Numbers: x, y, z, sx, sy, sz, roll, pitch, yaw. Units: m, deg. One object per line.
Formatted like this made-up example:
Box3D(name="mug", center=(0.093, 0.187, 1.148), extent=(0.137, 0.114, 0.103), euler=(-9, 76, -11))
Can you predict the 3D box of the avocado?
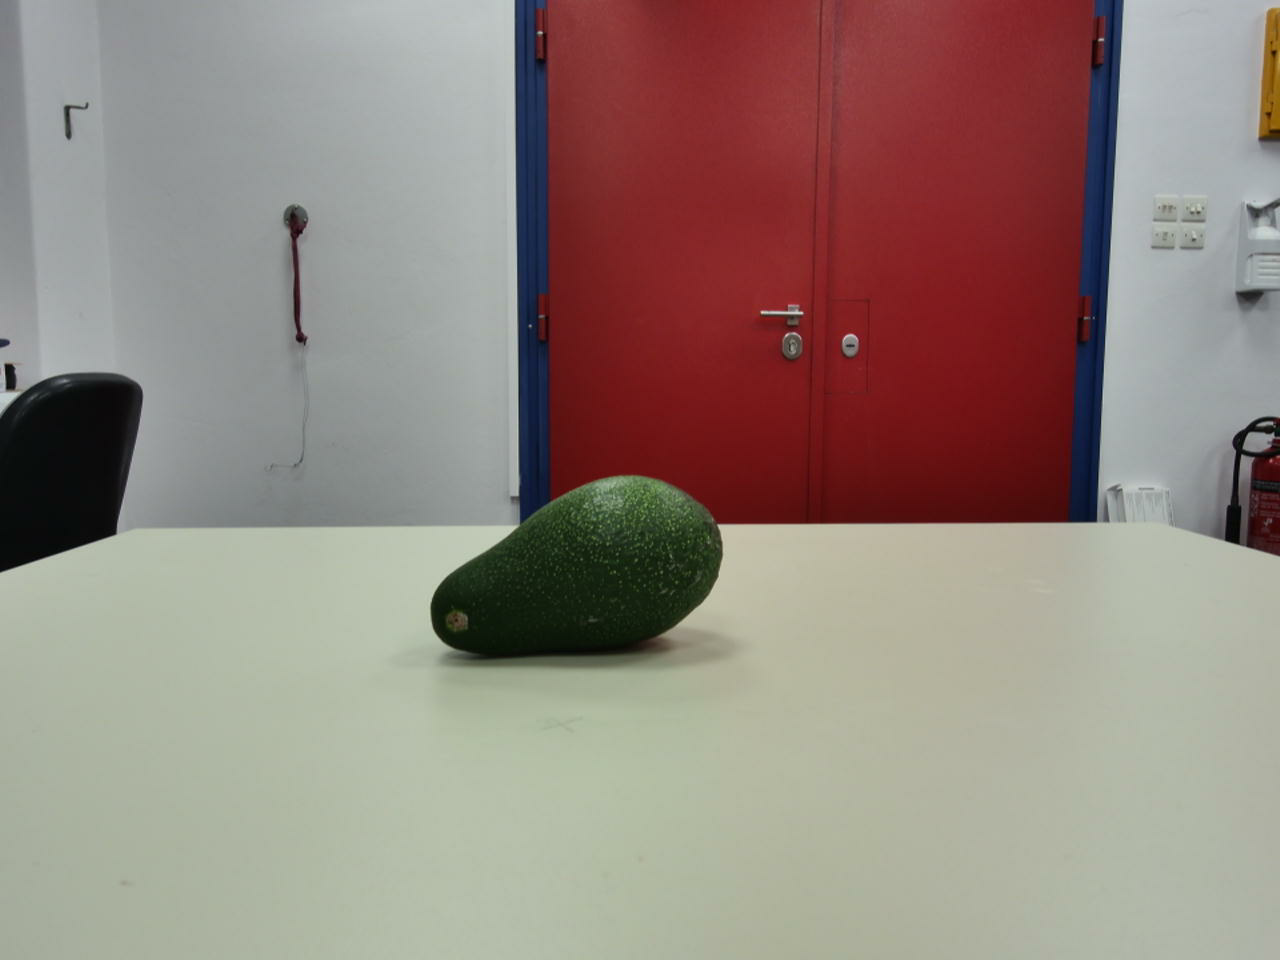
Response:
Box3D(name="avocado", center=(-0.025, 0.036, 0.442), extent=(0.123, 0.076, 0.074), euler=(0, 4, 6))
